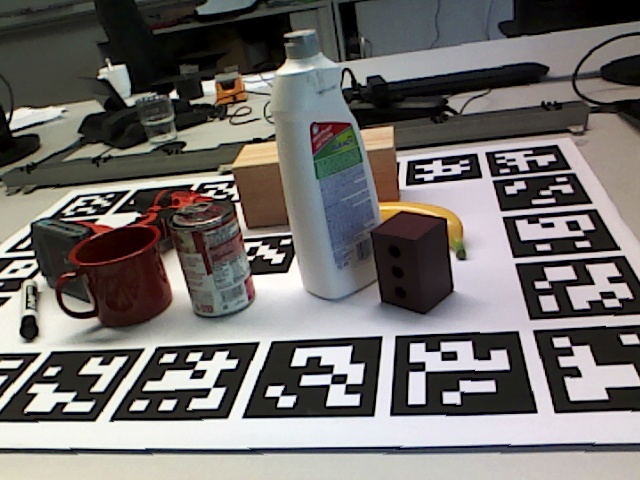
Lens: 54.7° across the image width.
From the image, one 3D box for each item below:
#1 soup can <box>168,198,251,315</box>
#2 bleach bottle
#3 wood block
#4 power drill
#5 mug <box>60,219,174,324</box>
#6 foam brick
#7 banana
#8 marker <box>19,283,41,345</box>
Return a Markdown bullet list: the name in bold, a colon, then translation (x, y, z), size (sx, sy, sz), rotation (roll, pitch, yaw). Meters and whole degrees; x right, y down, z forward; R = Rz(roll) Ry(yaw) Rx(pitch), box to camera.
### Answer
- **soup can**: translation (-0.111, 0.016, 0.629), size (0.068, 0.102, 0.068), rotation (-7, 22, 2)
- **bleach bottle**: translation (0.005, -0.068, 0.602), size (0.068, 0.250, 0.102), rotation (10, 31, 38)
- **wood block**: translation (-0.001, -0.080, 0.816), size (0.207, 0.090, 0.090), rotation (-5, 27, 11)
- **power drill**: translation (-0.238, -0.006, 0.800), size (0.186, 0.057, 0.186), rotation (14, 33, 35)
- **mug**: translation (-0.215, 0.040, 0.654), size (0.117, 0.081, 0.094), rotation (-29, 33, -29)
- **foam brick**: translation (0.090, 0.024, 0.583), size (0.053, 0.078, 0.051), rotation (12, 31, 43)
- **banana**: translation (0.070, -0.026, 0.730), size (0.198, 0.038, 0.074), rotation (5, 43, 24)
- **marker**: translation (-0.323, 0.081, 0.690), size (0.019, 0.019, 0.122), rotation (-20, 28, -15)
